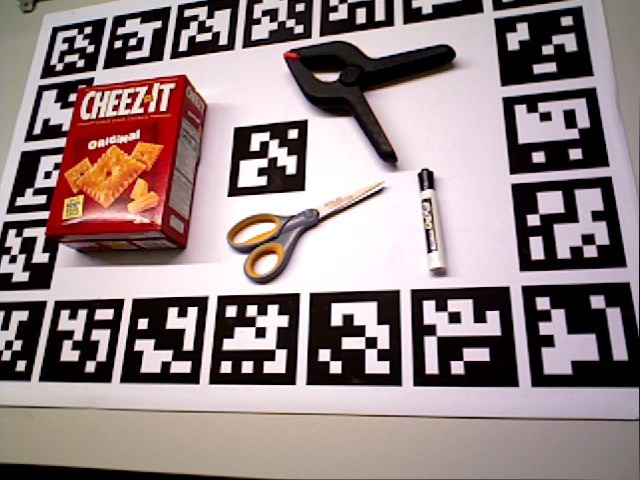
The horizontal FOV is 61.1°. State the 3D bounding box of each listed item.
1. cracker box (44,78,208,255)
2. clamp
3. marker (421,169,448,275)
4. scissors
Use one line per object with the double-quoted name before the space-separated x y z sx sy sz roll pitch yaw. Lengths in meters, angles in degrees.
"cracker box" -0.243 -0.092 0.689 0.165 0.072 0.211 -2 70 15
"clamp" 0.043 -0.195 0.681 0.203 0.037 0.164 28 78 22
"marker" 0.123 -0.022 0.587 0.020 0.020 0.120 -6 68 13
"scissors" -0.015 -0.019 0.626 0.202 0.016 0.087 -29 64 1
